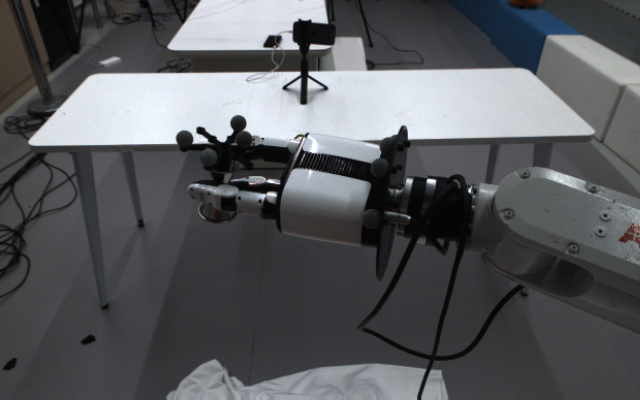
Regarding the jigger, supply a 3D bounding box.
[{"bbox_3d":[-0.110,-0.014,0.536,0.043,0.071,0.043,10,36,-7],"label":"jigger"}]
